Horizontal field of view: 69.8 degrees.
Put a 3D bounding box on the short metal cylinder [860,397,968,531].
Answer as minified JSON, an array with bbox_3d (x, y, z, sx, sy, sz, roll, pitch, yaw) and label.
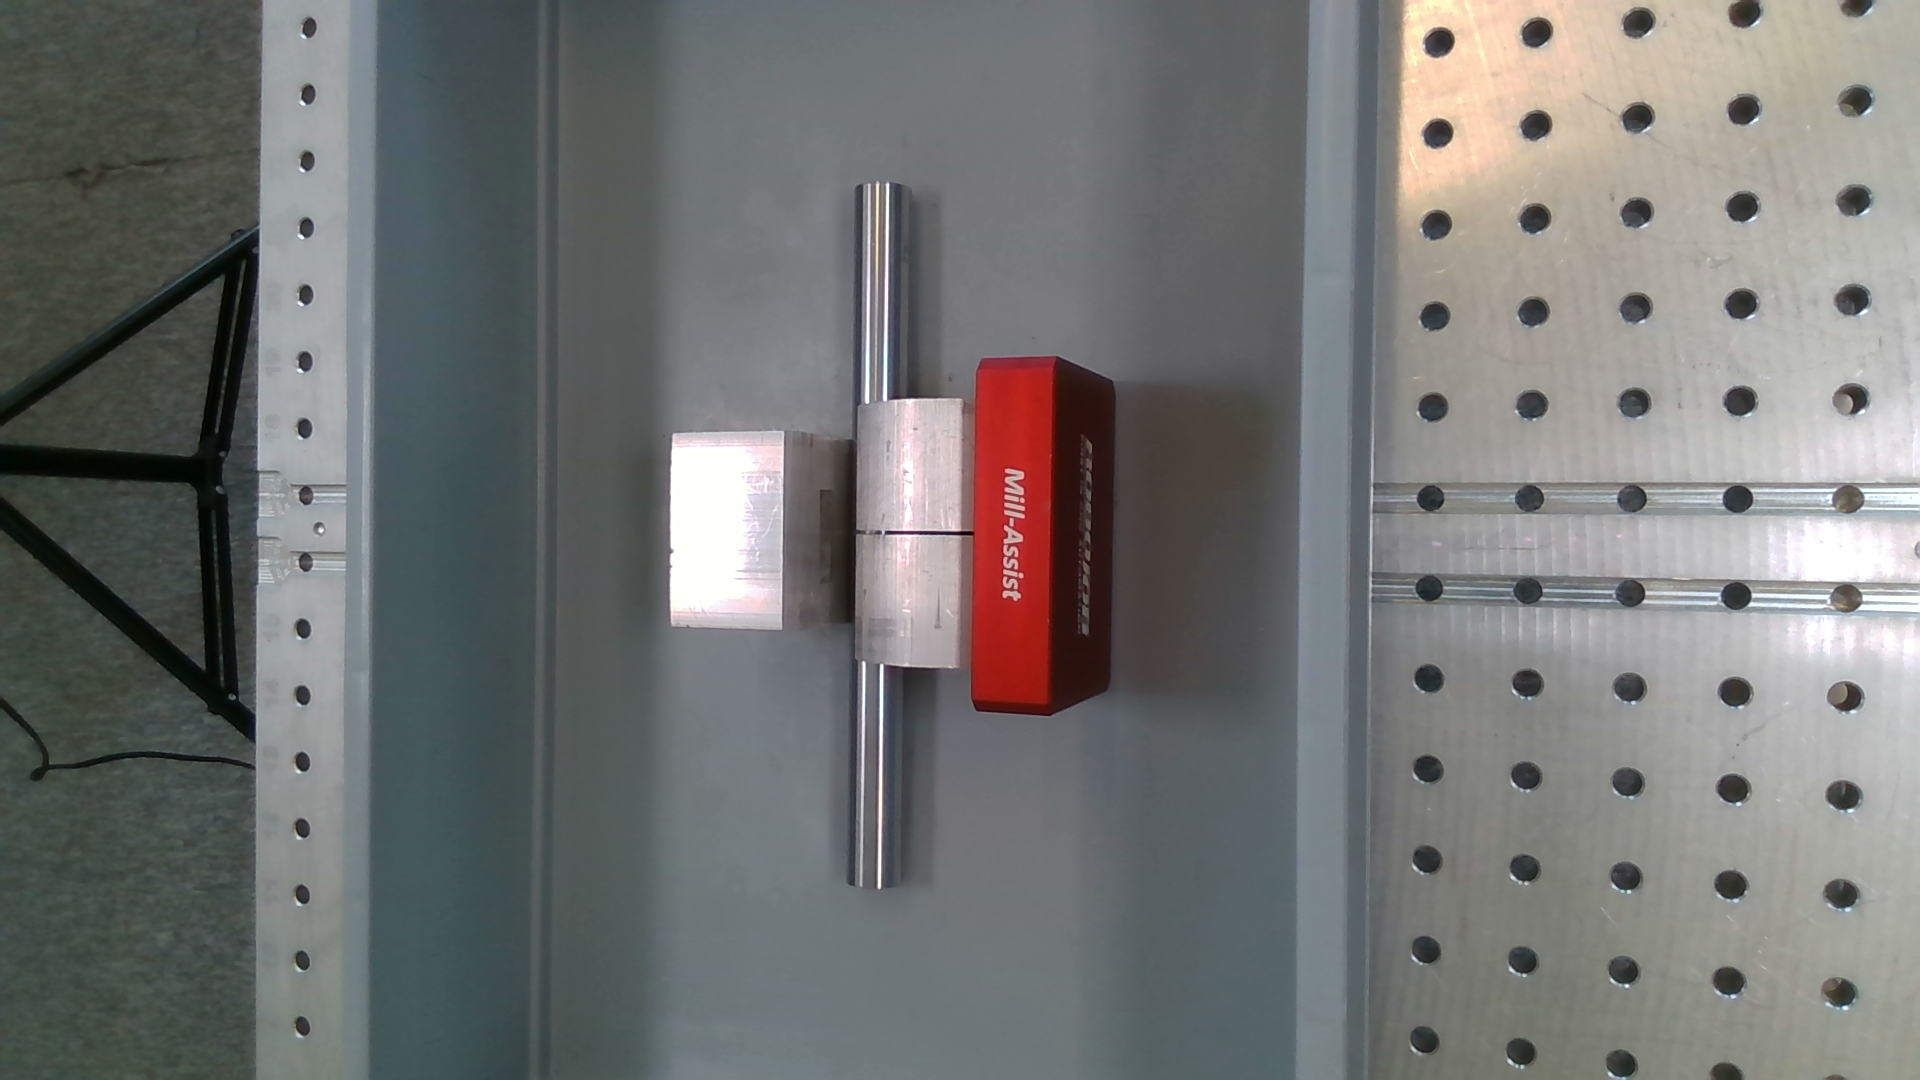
[{"bbox_3d":[-0.002,-0.029,0.557,0.080,0.080,0.050,1,91,20],"label":"short metal cylinder"}]

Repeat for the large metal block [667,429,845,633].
[{"bbox_3d":[-0.081,-0.004,0.584,0.050,0.080,0.080,1,91,20],"label":"large metal block"}]

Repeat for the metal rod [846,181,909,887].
[{"bbox_3d":[-0.036,-0.002,0.597,0.025,0.025,0.300,1,91,20],"label":"metal rod"}]

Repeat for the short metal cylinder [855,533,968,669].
[{"bbox_3d":[-0.002,0.023,0.557,0.080,0.080,0.050,2,91,20],"label":"short metal cylinder"}]

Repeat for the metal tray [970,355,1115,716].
[{"bbox_3d":[0.034,-0.002,0.537,0.030,0.090,0.130,1,91,20],"label":"metal tray"}]
